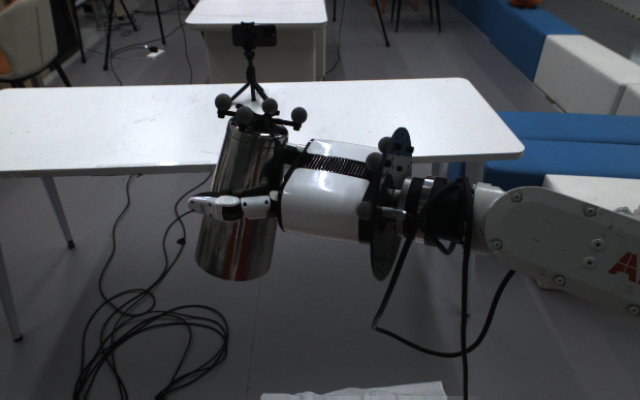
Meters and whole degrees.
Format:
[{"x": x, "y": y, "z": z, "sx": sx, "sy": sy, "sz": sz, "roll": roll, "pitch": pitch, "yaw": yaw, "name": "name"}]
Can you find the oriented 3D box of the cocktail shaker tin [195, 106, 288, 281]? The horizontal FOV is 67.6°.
[{"x": -0.082, "y": -0.006, "z": 0.550, "sx": 0.093, "sy": 0.170, "sz": 0.093, "roll": 12, "pitch": 24, "yaw": -5, "name": "cocktail shaker tin"}]
